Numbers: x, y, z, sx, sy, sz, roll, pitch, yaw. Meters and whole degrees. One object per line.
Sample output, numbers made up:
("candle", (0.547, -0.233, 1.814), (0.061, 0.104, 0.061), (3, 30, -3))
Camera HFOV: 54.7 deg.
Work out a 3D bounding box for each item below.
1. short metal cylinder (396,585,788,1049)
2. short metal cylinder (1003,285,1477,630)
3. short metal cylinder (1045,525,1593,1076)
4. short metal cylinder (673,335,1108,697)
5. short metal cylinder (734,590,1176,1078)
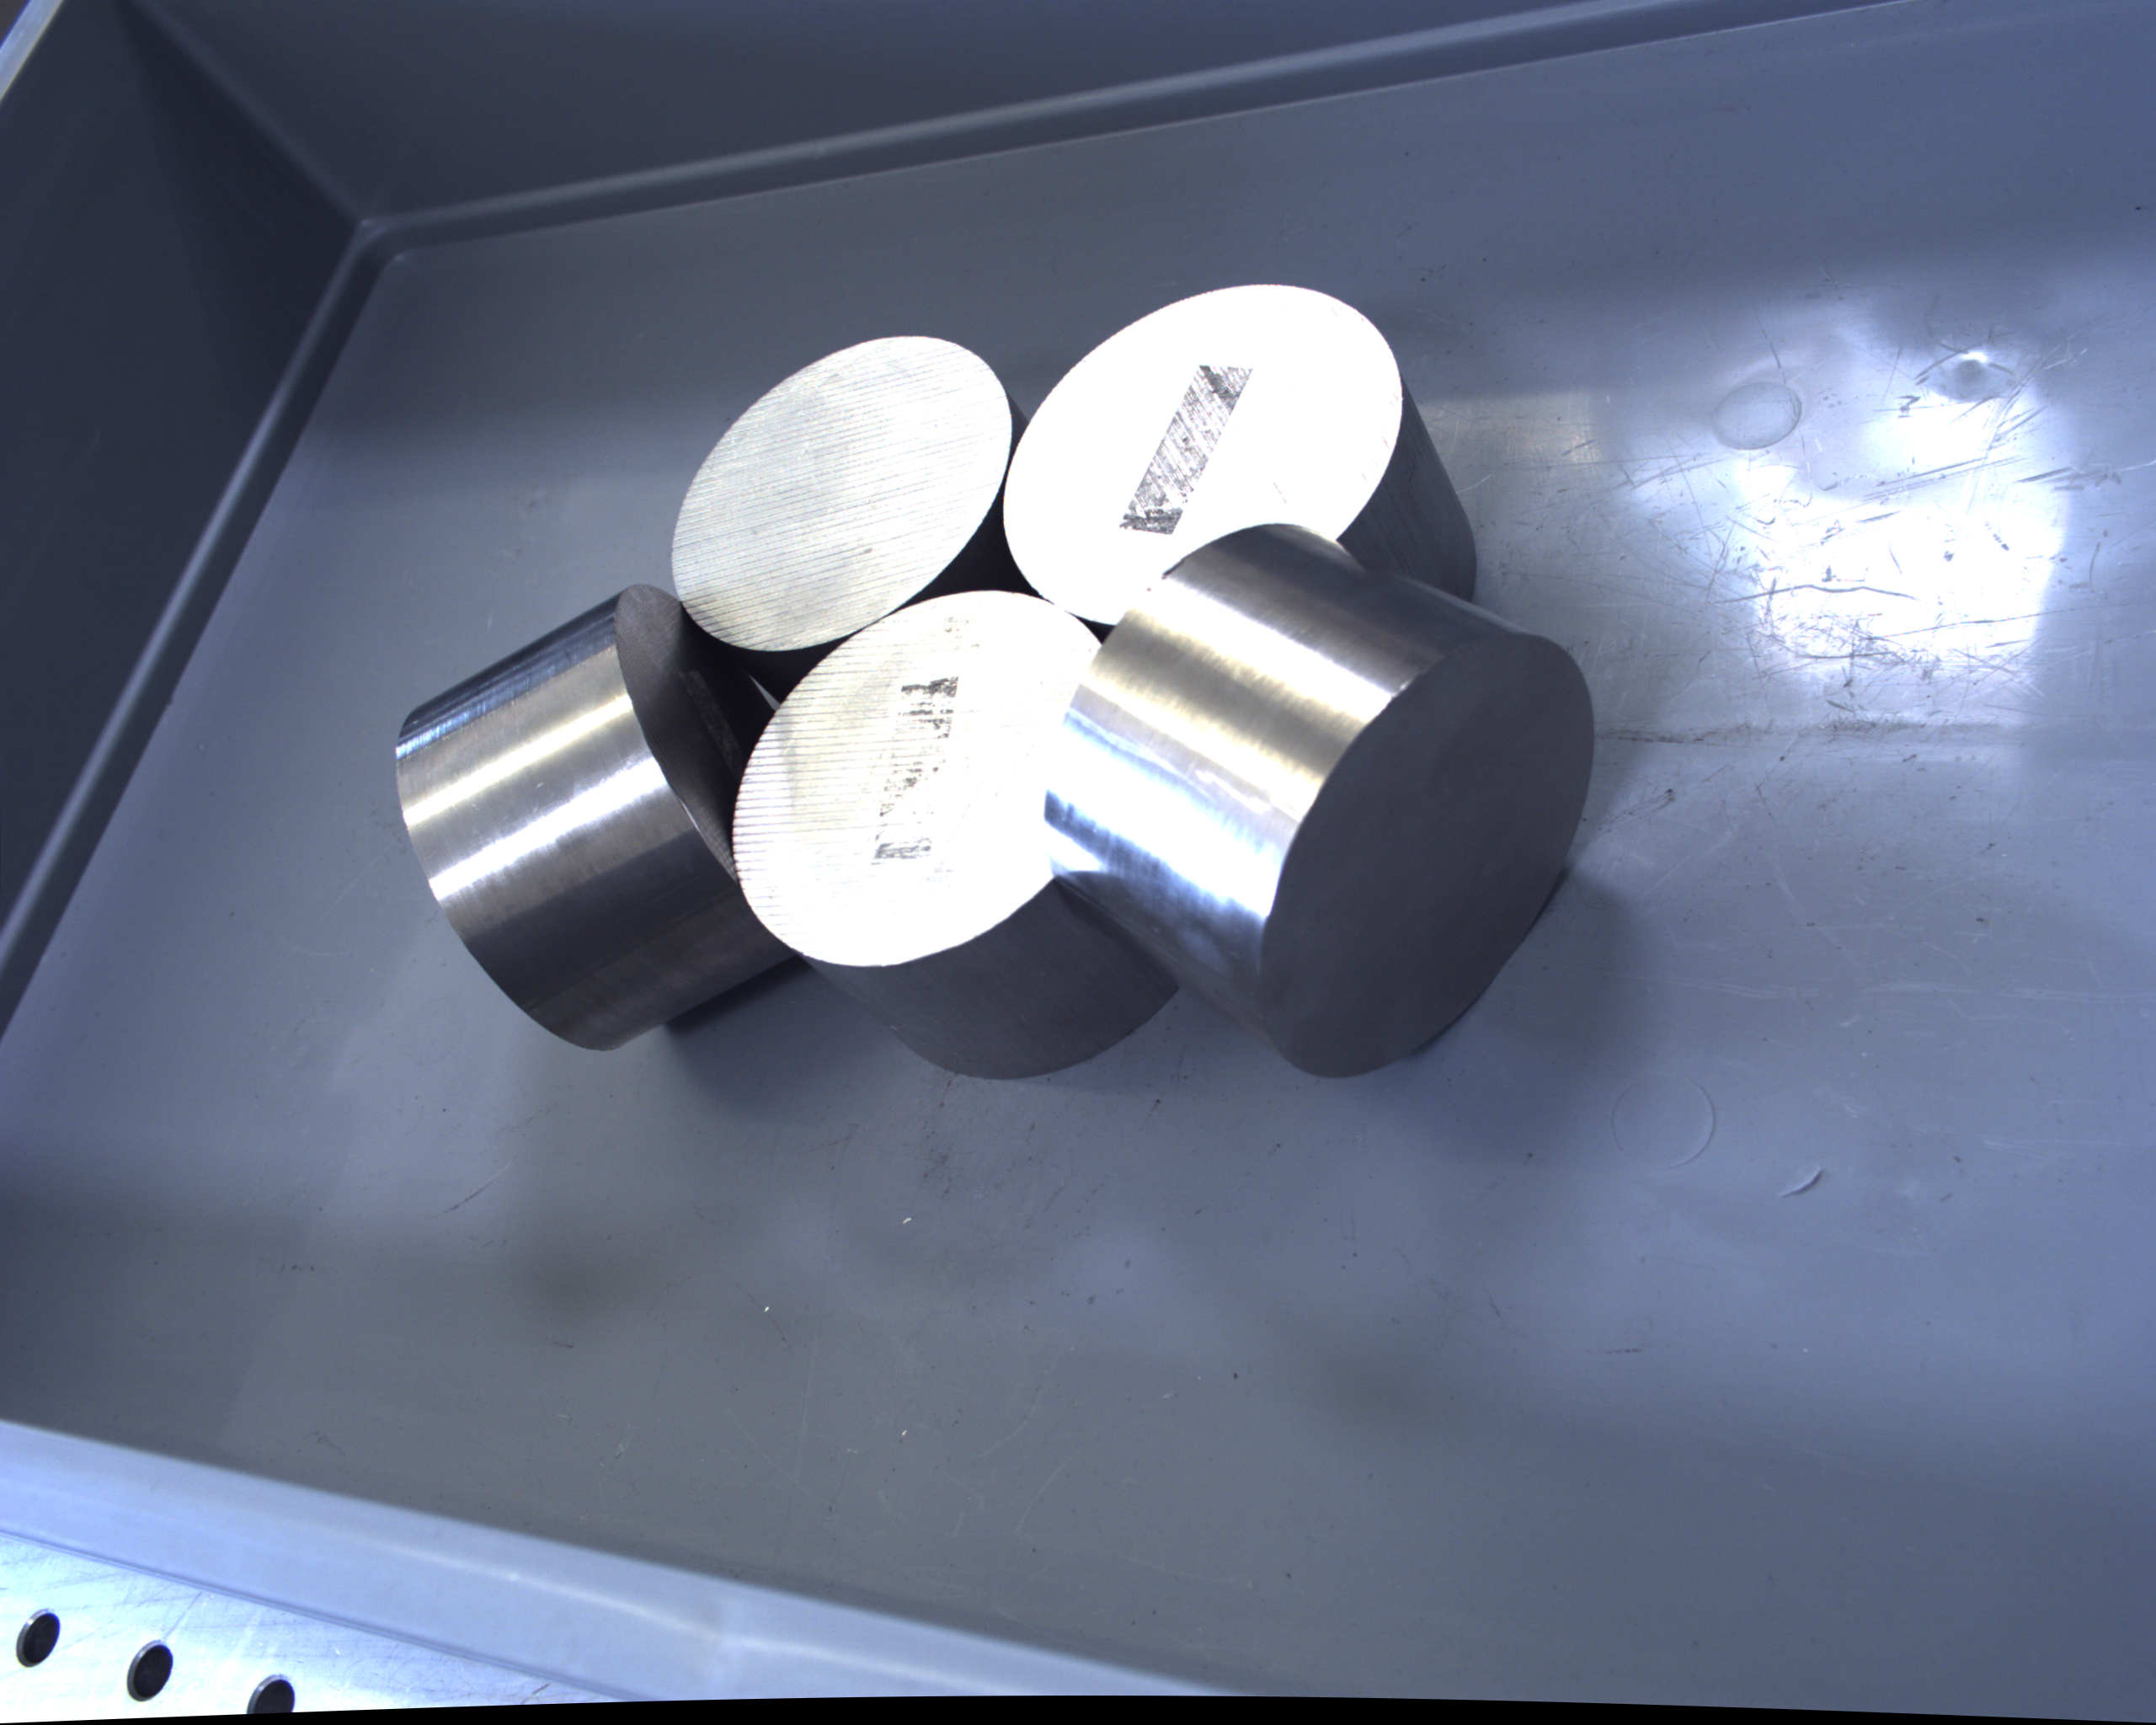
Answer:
("short metal cylinder", (-0.090, -0.009, 0.422), (0.050, 0.080, 0.080), (-27, 52, 11))
("short metal cylinder", (0.033, -0.066, 0.411), (0.080, 0.050, 0.080), (-13, 56, 21))
("short metal cylinder", (0.041, -0.011, 0.353), (0.050, 0.080, 0.080), (33, 81, 38))
("short metal cylinder", (-0.039, -0.066, 0.449), (0.080, 0.050, 0.080), (-13, 56, 21))
("short metal cylinder", (-0.018, -0.005, 0.400), (0.080, 0.050, 0.080), (-13, 56, 21))
